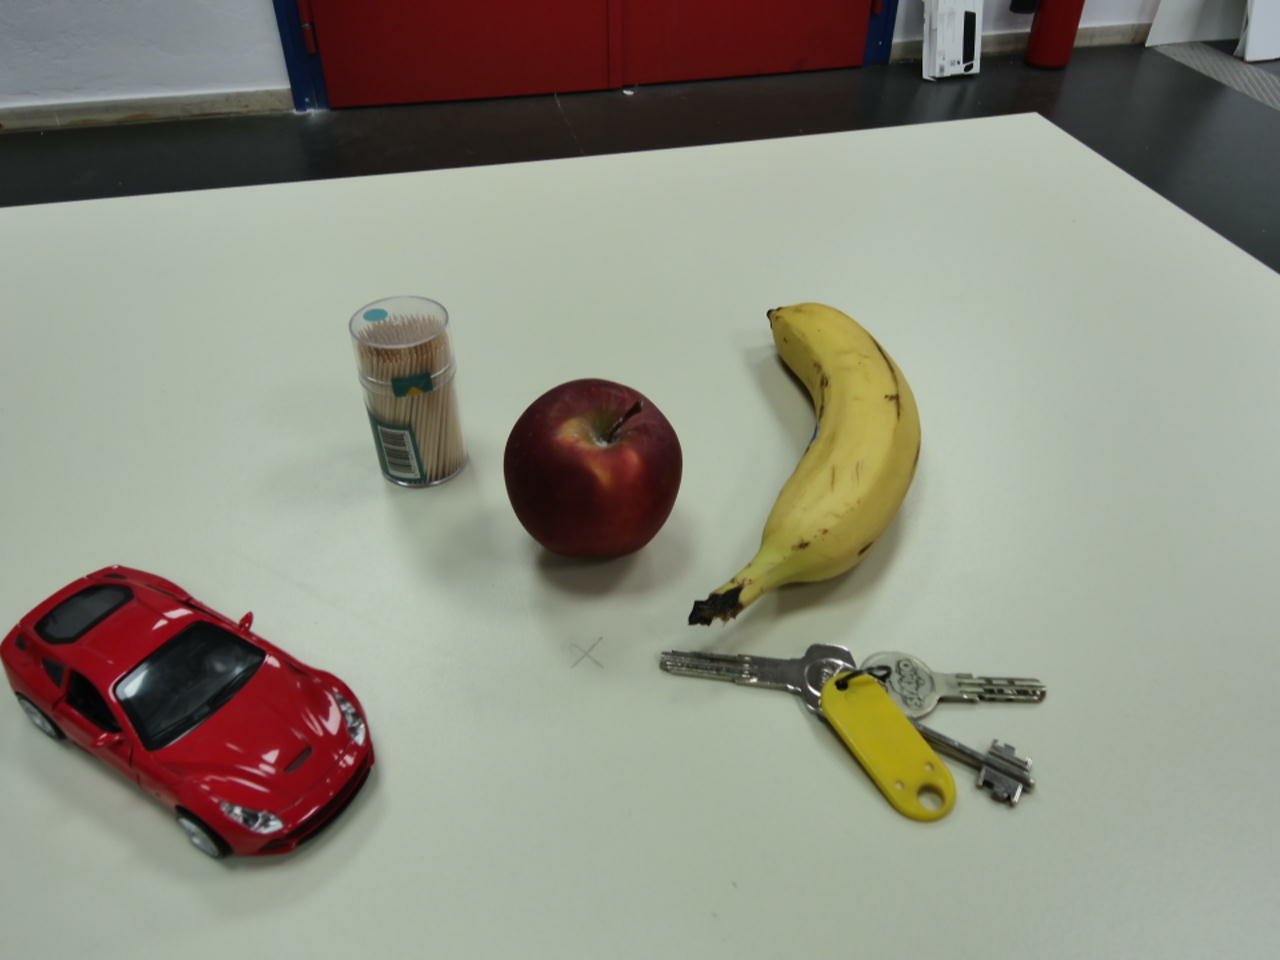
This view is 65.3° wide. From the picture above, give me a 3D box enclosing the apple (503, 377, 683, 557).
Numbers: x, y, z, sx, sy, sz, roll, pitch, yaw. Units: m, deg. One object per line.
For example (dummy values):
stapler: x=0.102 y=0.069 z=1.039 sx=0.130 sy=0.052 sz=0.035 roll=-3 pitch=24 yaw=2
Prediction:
apple: x=-0.017 y=-0.003 z=0.387 sx=0.070 sy=0.072 sz=0.070 roll=1 pitch=38 yaw=-1
